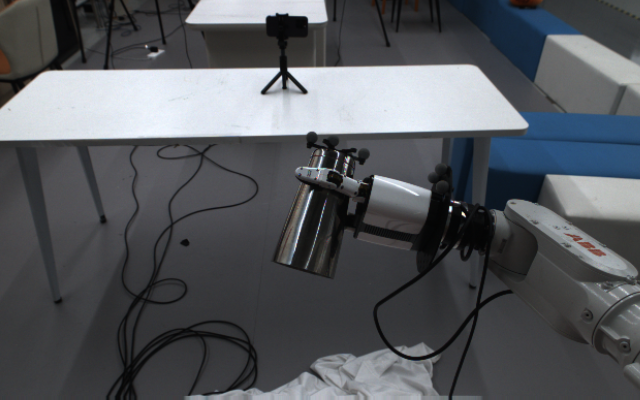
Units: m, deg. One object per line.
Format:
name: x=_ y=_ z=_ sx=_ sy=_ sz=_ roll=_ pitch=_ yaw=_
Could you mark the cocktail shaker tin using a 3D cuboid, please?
cocktail shaker tin: x=0.001 y=0.015 z=0.692 sx=0.093 sy=0.093 sz=0.170 roll=13 pitch=79 yaw=15
